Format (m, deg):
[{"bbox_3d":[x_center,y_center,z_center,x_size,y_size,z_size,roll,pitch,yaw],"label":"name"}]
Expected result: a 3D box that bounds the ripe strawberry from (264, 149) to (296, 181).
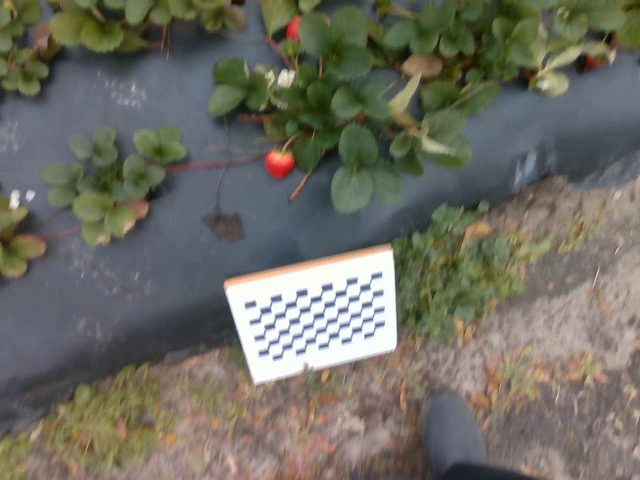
[{"bbox_3d":[-0.086,-0.154,0.712,0.061,0.065,0.050,-6,28,-8],"label":"ripe strawberry"}]
